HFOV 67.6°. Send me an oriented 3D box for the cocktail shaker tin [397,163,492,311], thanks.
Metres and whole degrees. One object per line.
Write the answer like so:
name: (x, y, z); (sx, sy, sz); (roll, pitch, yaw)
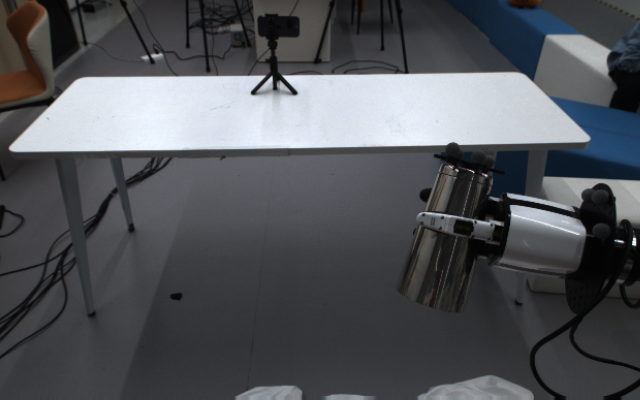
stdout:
cocktail shaker tin: (0.165, 0.044, 0.617); (0.093, 0.170, 0.093); (14, 6, -2)
